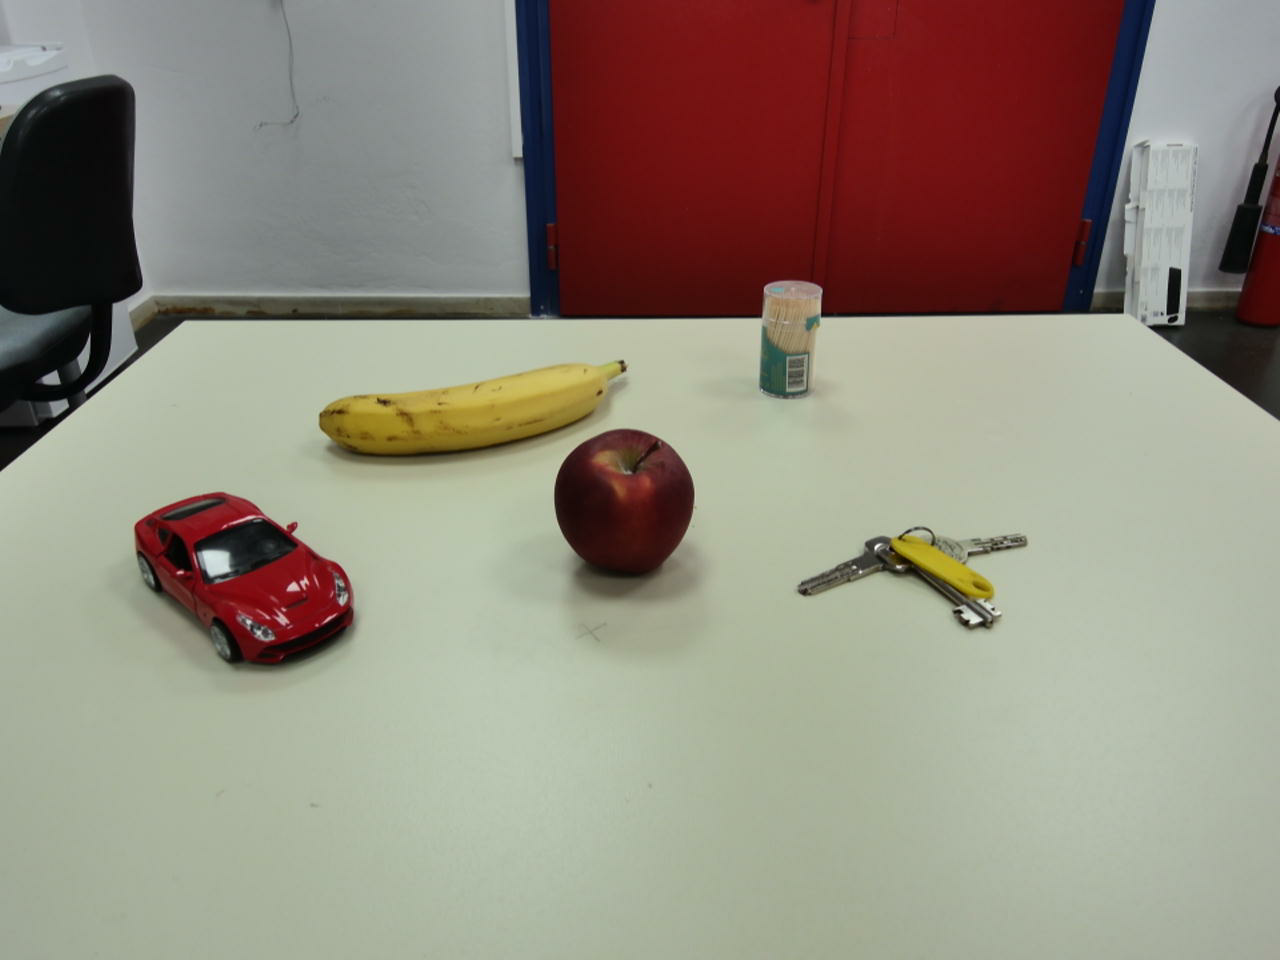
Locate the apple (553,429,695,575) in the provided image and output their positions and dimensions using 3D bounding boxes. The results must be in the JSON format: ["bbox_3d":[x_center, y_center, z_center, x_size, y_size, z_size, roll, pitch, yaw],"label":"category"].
[{"bbox_3d":[-0.008,0.011,0.492,0.070,0.072,0.070,1,26,0],"label":"apple"}]
